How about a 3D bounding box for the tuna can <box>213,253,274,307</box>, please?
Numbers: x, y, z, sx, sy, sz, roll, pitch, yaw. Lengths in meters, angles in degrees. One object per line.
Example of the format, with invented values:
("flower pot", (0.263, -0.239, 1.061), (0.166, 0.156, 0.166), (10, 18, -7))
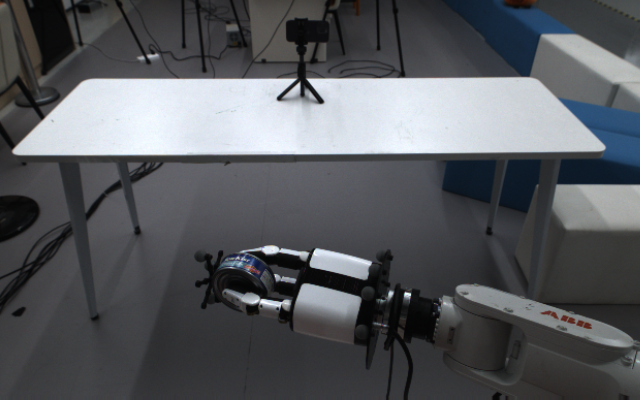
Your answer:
("tuna can", (-0.105, 0.116, 0.680), (0.085, 0.085, 0.034), (9, 34, 10))
